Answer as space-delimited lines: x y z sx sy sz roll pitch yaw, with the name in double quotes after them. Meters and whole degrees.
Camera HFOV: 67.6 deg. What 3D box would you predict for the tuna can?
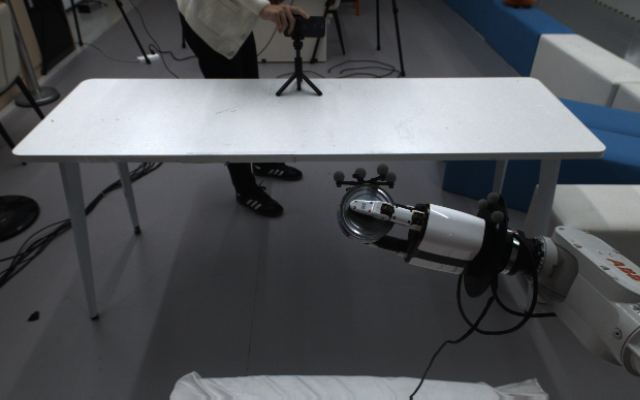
0.070 0.019 0.721 0.085 0.034 0.085 1 70 -4 "tuna can"
